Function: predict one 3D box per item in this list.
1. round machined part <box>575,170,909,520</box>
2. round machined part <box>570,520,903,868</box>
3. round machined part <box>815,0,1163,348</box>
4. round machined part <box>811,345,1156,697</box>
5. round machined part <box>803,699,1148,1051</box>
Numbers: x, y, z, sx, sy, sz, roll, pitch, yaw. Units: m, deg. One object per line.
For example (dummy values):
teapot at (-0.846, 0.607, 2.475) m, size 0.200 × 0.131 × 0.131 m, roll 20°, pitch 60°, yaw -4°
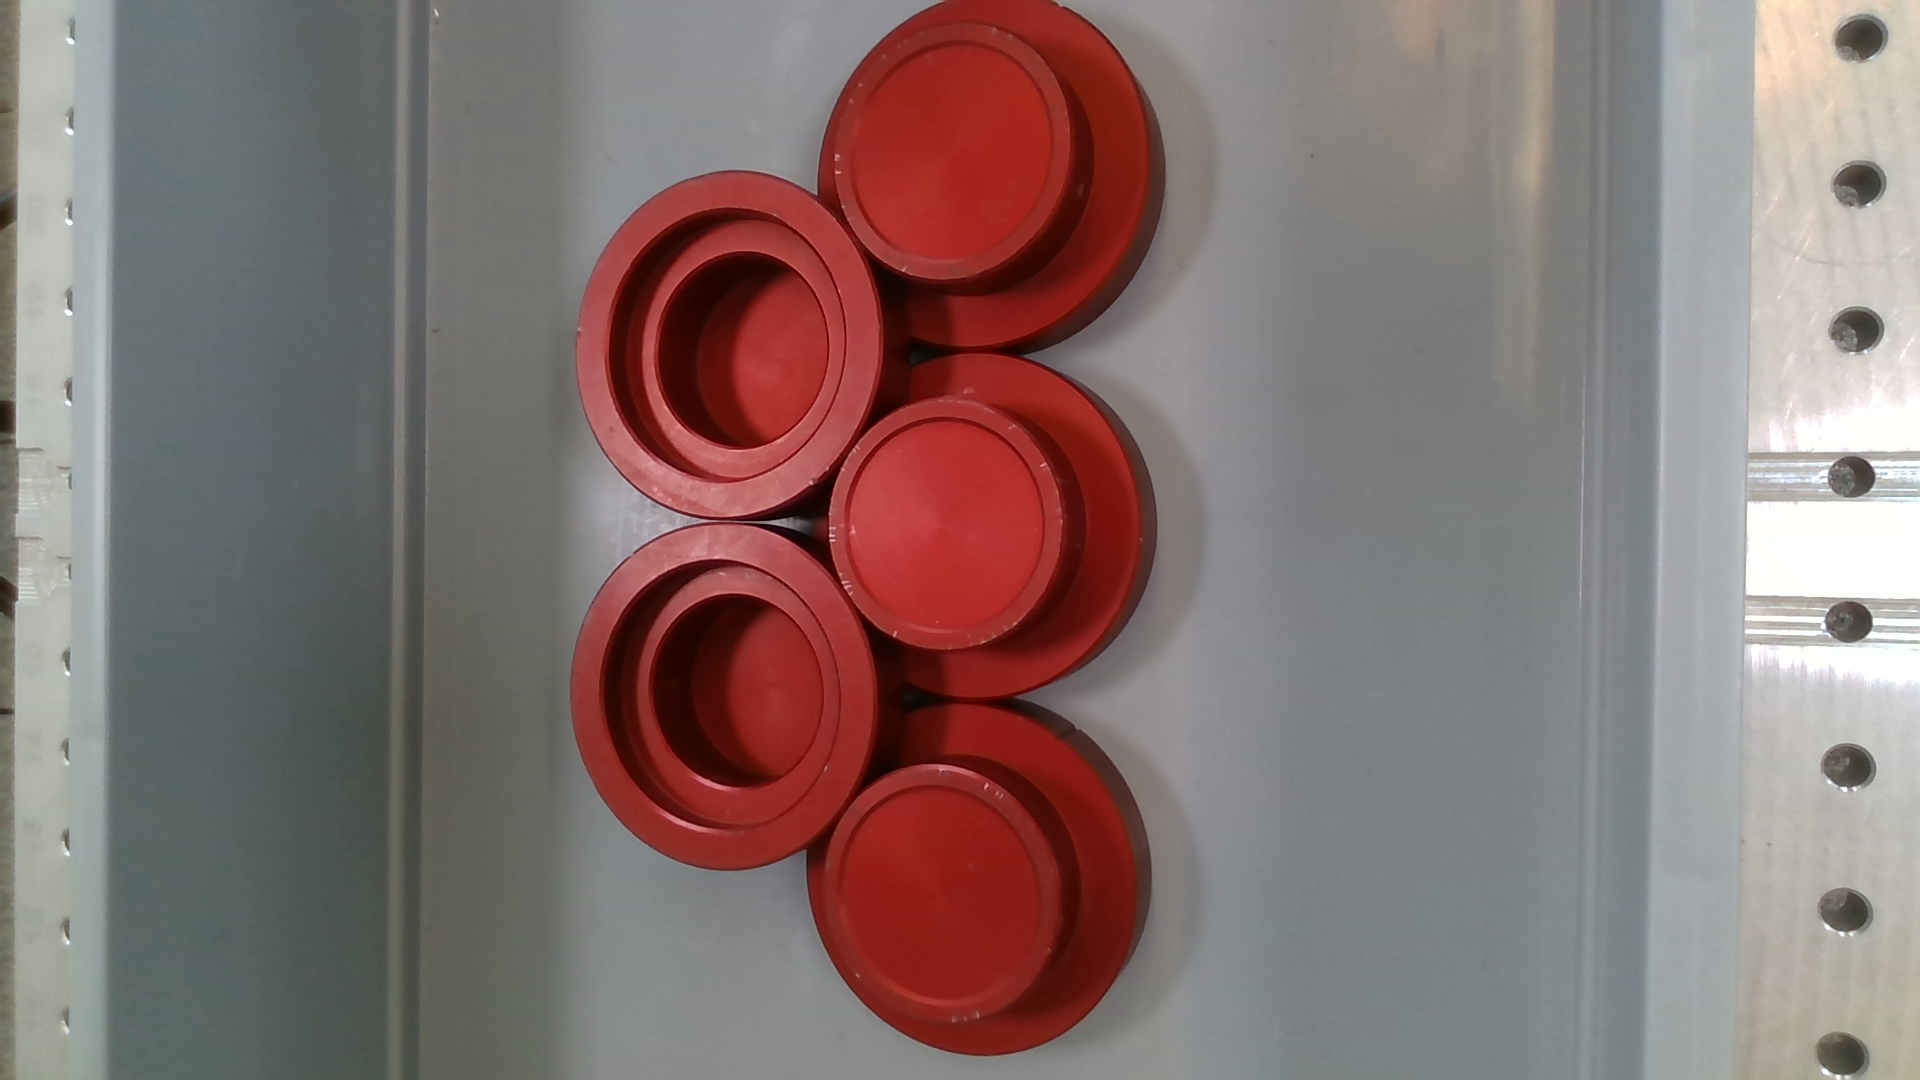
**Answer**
round machined part at (-0.060, -0.055, 0.405) m, size 0.098 × 0.042 × 0.098 m, roll 0°, pitch 90°, yaw 20°
round machined part at (-0.062, 0.043, 0.406) m, size 0.098 × 0.042 × 0.098 m, roll 0°, pitch 90°, yaw 20°
round machined part at (0.004, -0.103, 0.380) m, size 0.098 × 0.042 × 0.098 m, roll 0°, pitch 91°, yaw 19°
round machined part at (0.003, -0.005, 0.382) m, size 0.098 × 0.042 × 0.098 m, roll 0°, pitch 90°, yaw 19°
round machined part at (0.000, 0.093, 0.383) m, size 0.098 × 0.042 × 0.098 m, roll 0°, pitch 90°, yaw 19°
